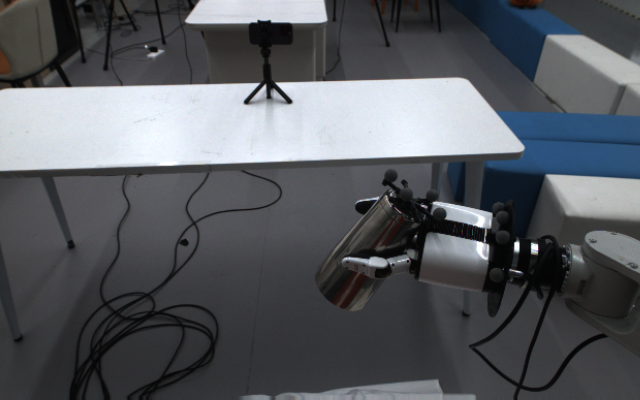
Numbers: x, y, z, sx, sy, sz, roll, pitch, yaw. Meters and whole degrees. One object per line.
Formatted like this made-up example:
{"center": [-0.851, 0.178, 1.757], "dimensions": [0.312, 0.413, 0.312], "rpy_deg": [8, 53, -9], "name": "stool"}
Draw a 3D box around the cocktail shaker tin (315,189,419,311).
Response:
{"center": [0.073, 0.062, 0.685], "dimensions": [0.093, 0.170, 0.093], "rpy_deg": [26, 32, -18], "name": "cocktail shaker tin"}
